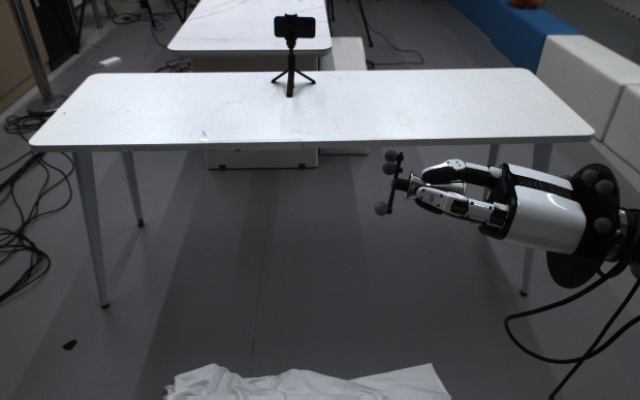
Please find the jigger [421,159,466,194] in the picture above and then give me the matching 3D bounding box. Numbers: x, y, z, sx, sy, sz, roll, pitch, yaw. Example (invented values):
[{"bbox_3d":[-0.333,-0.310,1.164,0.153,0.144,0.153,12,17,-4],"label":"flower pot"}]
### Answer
[{"bbox_3d":[0.151,-0.013,0.613,0.071,0.043,0.043,12,36,5],"label":"jigger"}]
